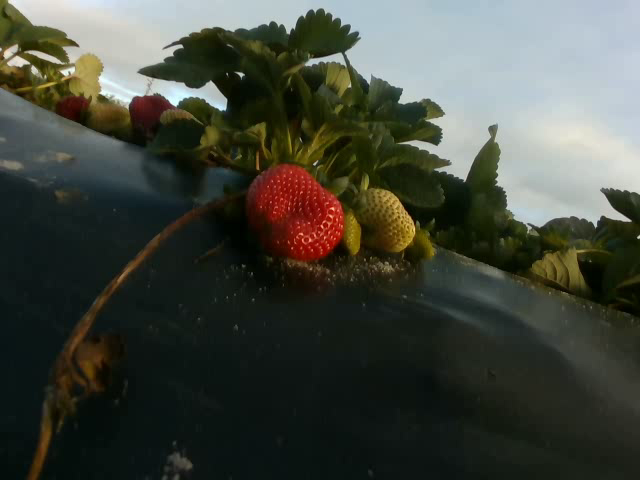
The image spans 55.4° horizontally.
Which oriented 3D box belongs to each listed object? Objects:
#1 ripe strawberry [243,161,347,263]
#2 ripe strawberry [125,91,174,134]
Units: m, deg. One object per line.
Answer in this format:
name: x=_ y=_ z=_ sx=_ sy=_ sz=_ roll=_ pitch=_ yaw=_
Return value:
ripe strawberry: x=-0.011 y=-0.017 z=0.260 sx=0.047 sy=0.035 sz=0.050 roll=21 pitch=28 yaw=13
ripe strawberry: x=-0.136 y=-0.098 z=0.519 sx=0.058 sy=0.071 sz=0.057 roll=-15 pitch=-23 yaw=-35
